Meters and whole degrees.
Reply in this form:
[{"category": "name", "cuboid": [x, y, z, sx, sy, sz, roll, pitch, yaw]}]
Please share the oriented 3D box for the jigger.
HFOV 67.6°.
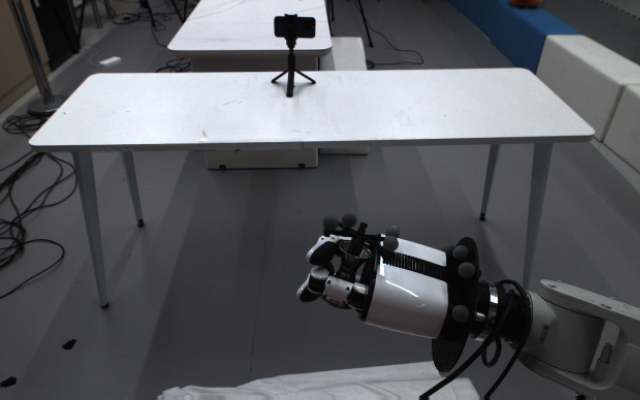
[{"category": "jigger", "cuboid": [0.034, 0.087, 0.573, 0.043, 0.071, 0.043, 15, 16, -5]}]
